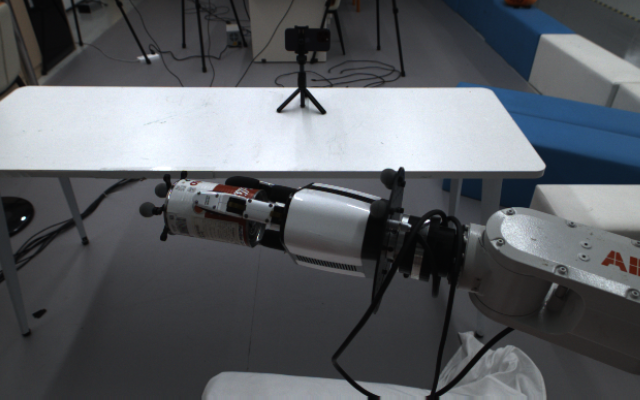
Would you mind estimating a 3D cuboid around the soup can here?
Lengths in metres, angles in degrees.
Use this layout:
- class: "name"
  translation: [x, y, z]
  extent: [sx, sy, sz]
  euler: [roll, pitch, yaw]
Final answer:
- class: "soup can"
  translation: [-0.116, 0.015, 0.562]
  extent: [0.101, 0.067, 0.067]
  euler: [8, 35, 11]
